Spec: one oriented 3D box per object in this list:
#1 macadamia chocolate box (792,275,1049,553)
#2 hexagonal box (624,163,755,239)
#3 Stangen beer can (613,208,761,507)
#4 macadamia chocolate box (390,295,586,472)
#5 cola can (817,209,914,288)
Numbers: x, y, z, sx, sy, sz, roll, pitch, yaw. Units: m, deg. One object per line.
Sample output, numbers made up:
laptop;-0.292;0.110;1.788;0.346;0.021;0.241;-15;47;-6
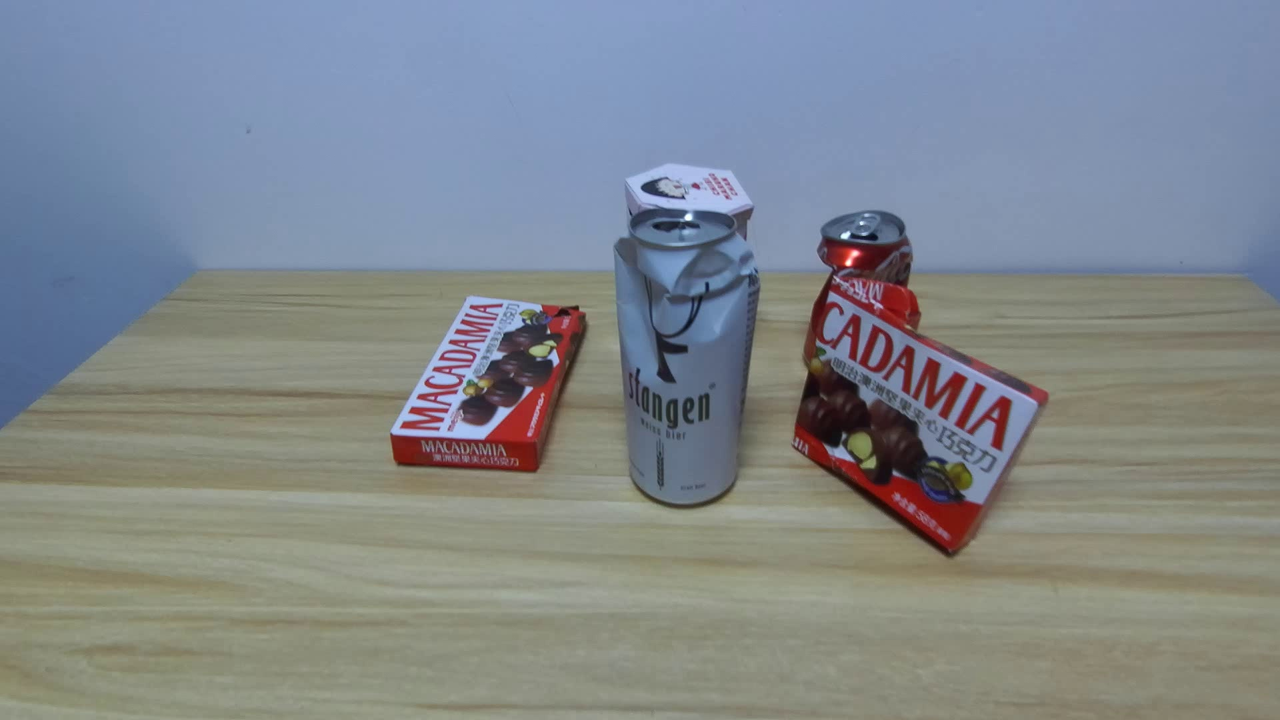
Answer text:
macadamia chocolate box;0.151;0.027;0.397;0.056;0.112;0.126;-21;39;-28
hexagonal box;0.031;-0.062;0.507;0.085;0.135;0.092;-9;36;-9
Stangen beer can;0.025;0.002;0.392;0.066;0.166;0.065;-17;36;-21
macadamia chocolate box;-0.100;0.006;0.517;0.103;0.027;0.186;3;35;3
cola can;0.154;-0.044;0.497;0.069;0.113;0.065;-15;35;-13
